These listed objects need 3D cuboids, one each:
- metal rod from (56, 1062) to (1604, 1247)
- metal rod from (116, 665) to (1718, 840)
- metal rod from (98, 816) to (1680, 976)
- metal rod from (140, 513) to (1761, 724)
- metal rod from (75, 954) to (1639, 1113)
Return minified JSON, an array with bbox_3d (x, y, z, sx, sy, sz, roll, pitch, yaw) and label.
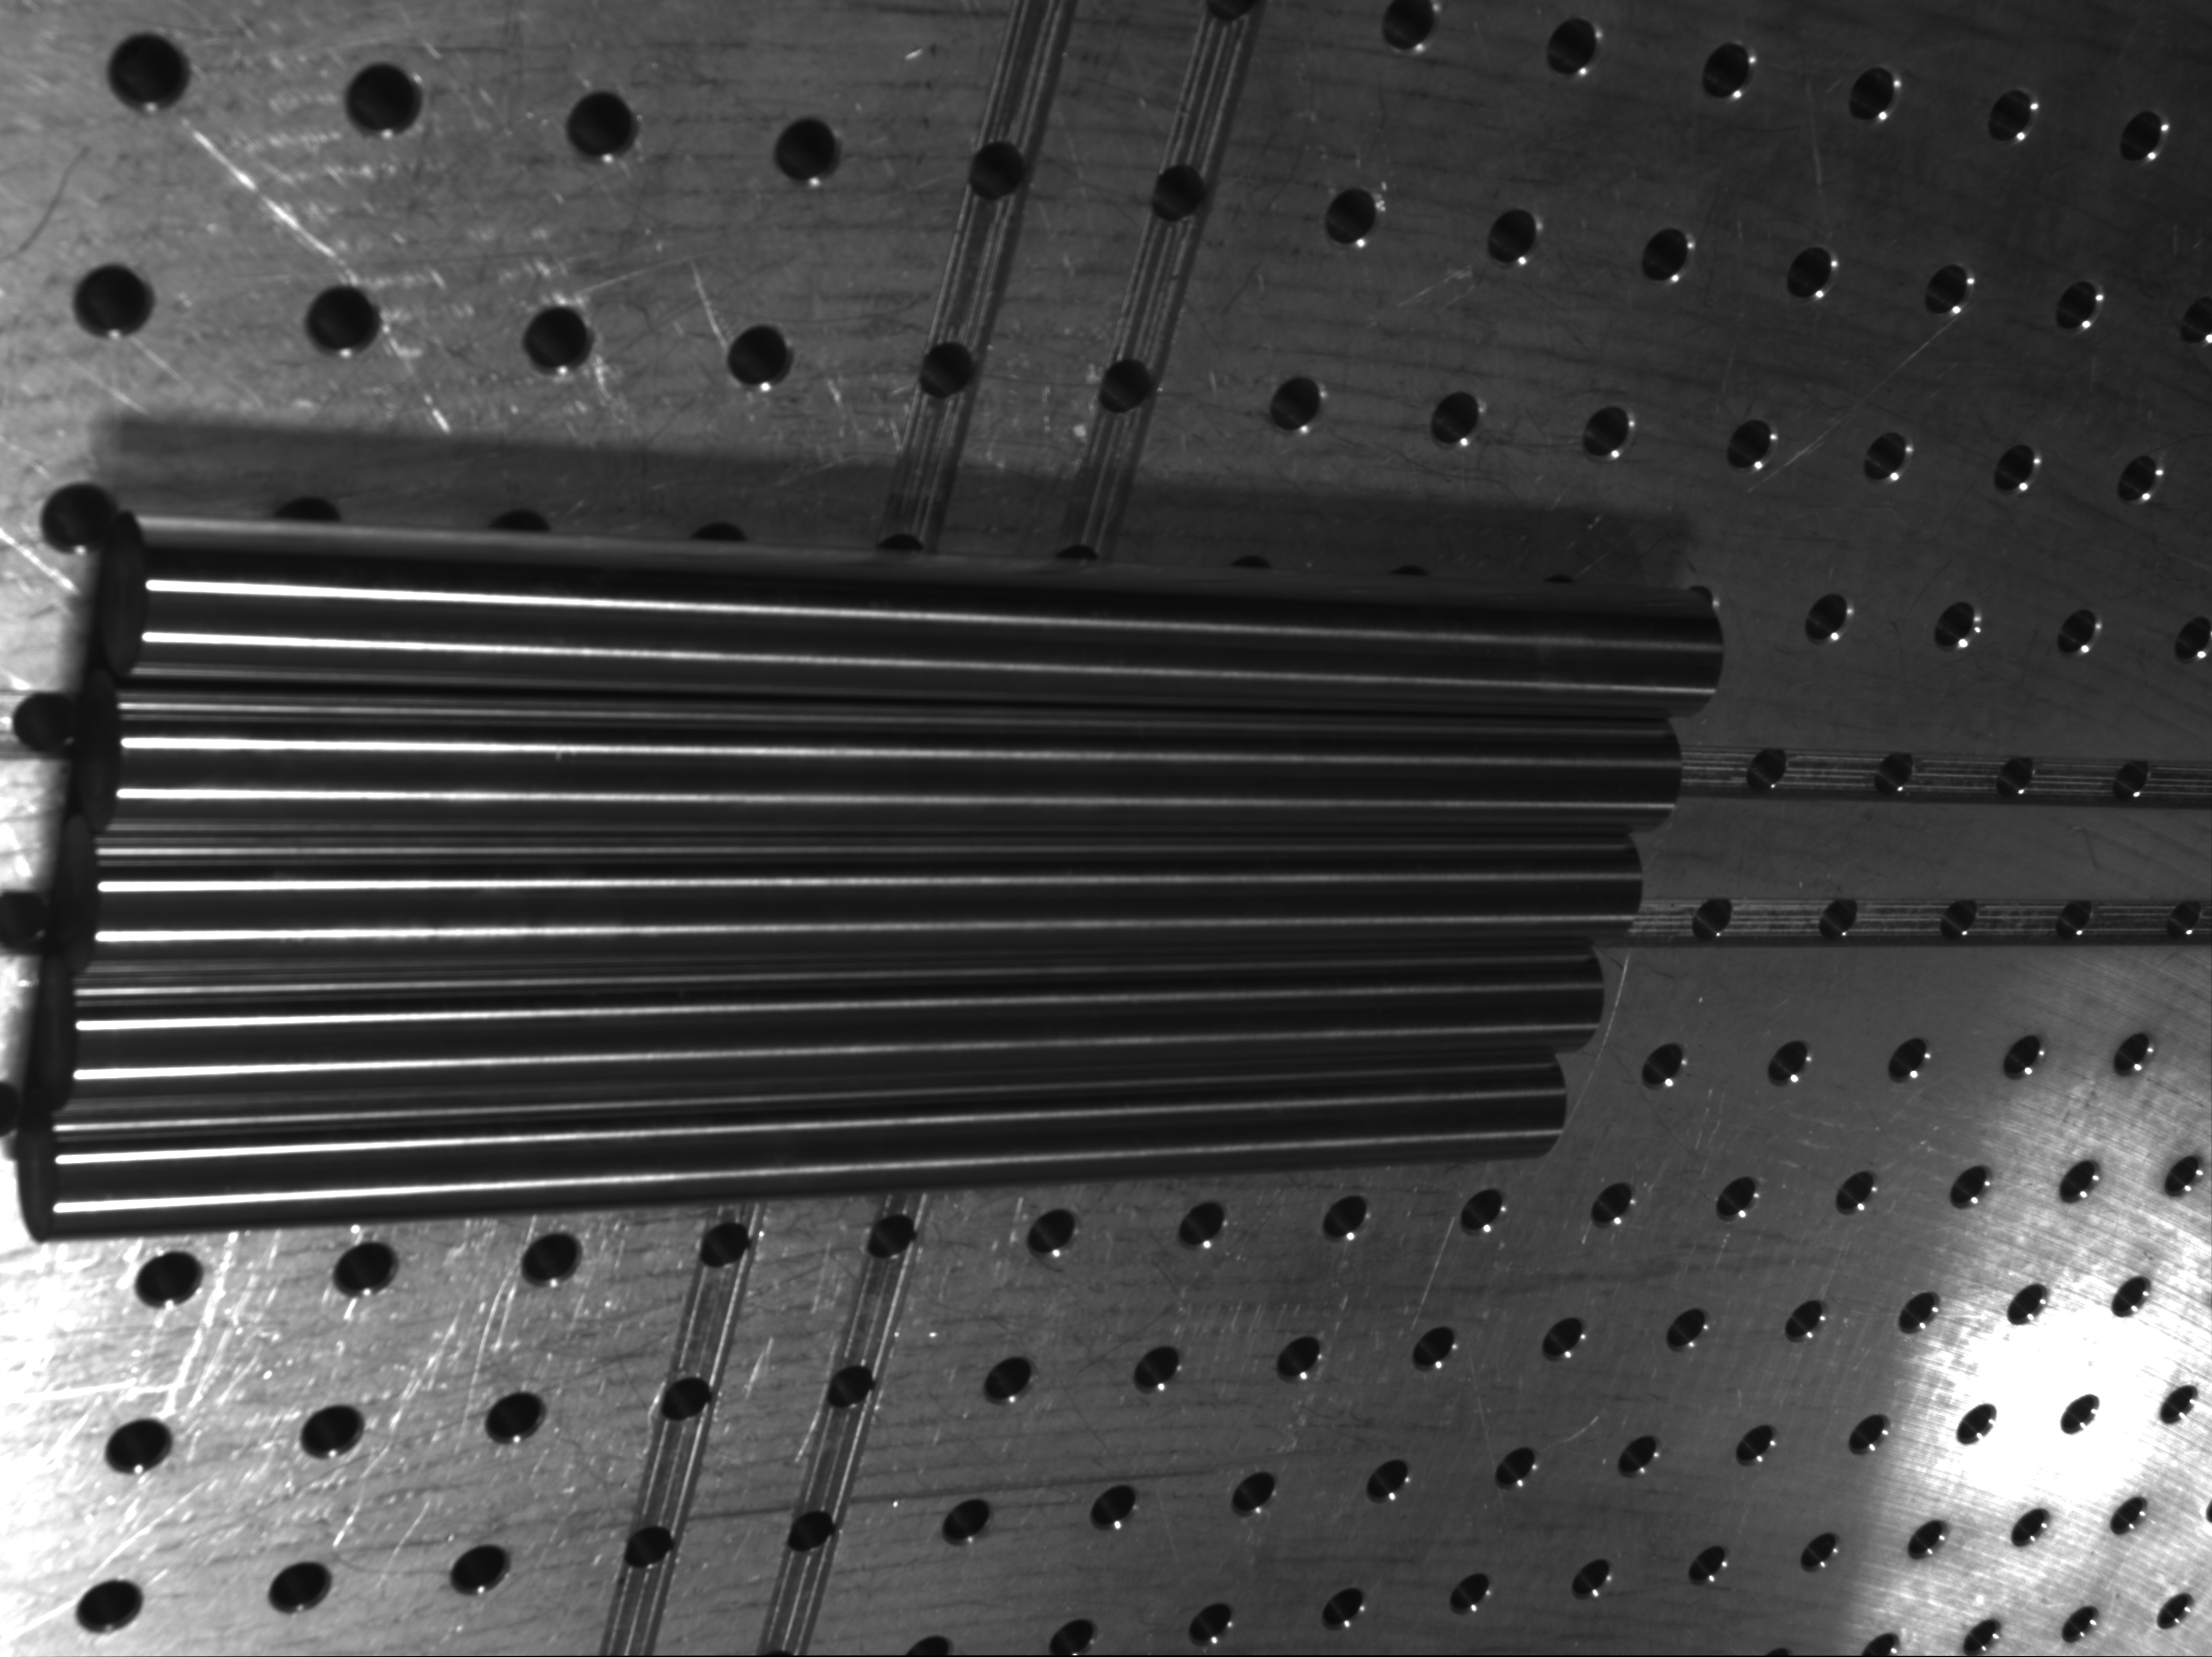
[{"bbox_3d":[-0.036,0.055,0.666,0.301,0.025,0.025,0,118,-30],"label":"metal rod"},{"bbox_3d":[-0.018,-0.011,0.636,0.301,0.025,0.025,0,118,-31],"label":"metal rod"},{"bbox_3d":[-0.024,0.012,0.647,0.301,0.025,0.025,0,118,-31],"label":"metal rod"},{"bbox_3d":[-0.012,-0.034,0.626,0.301,0.025,0.025,0,118,-31],"label":"metal rod"},{"bbox_3d":[-0.031,0.034,0.657,0.301,0.025,0.025,0,118,-31],"label":"metal rod"}]
